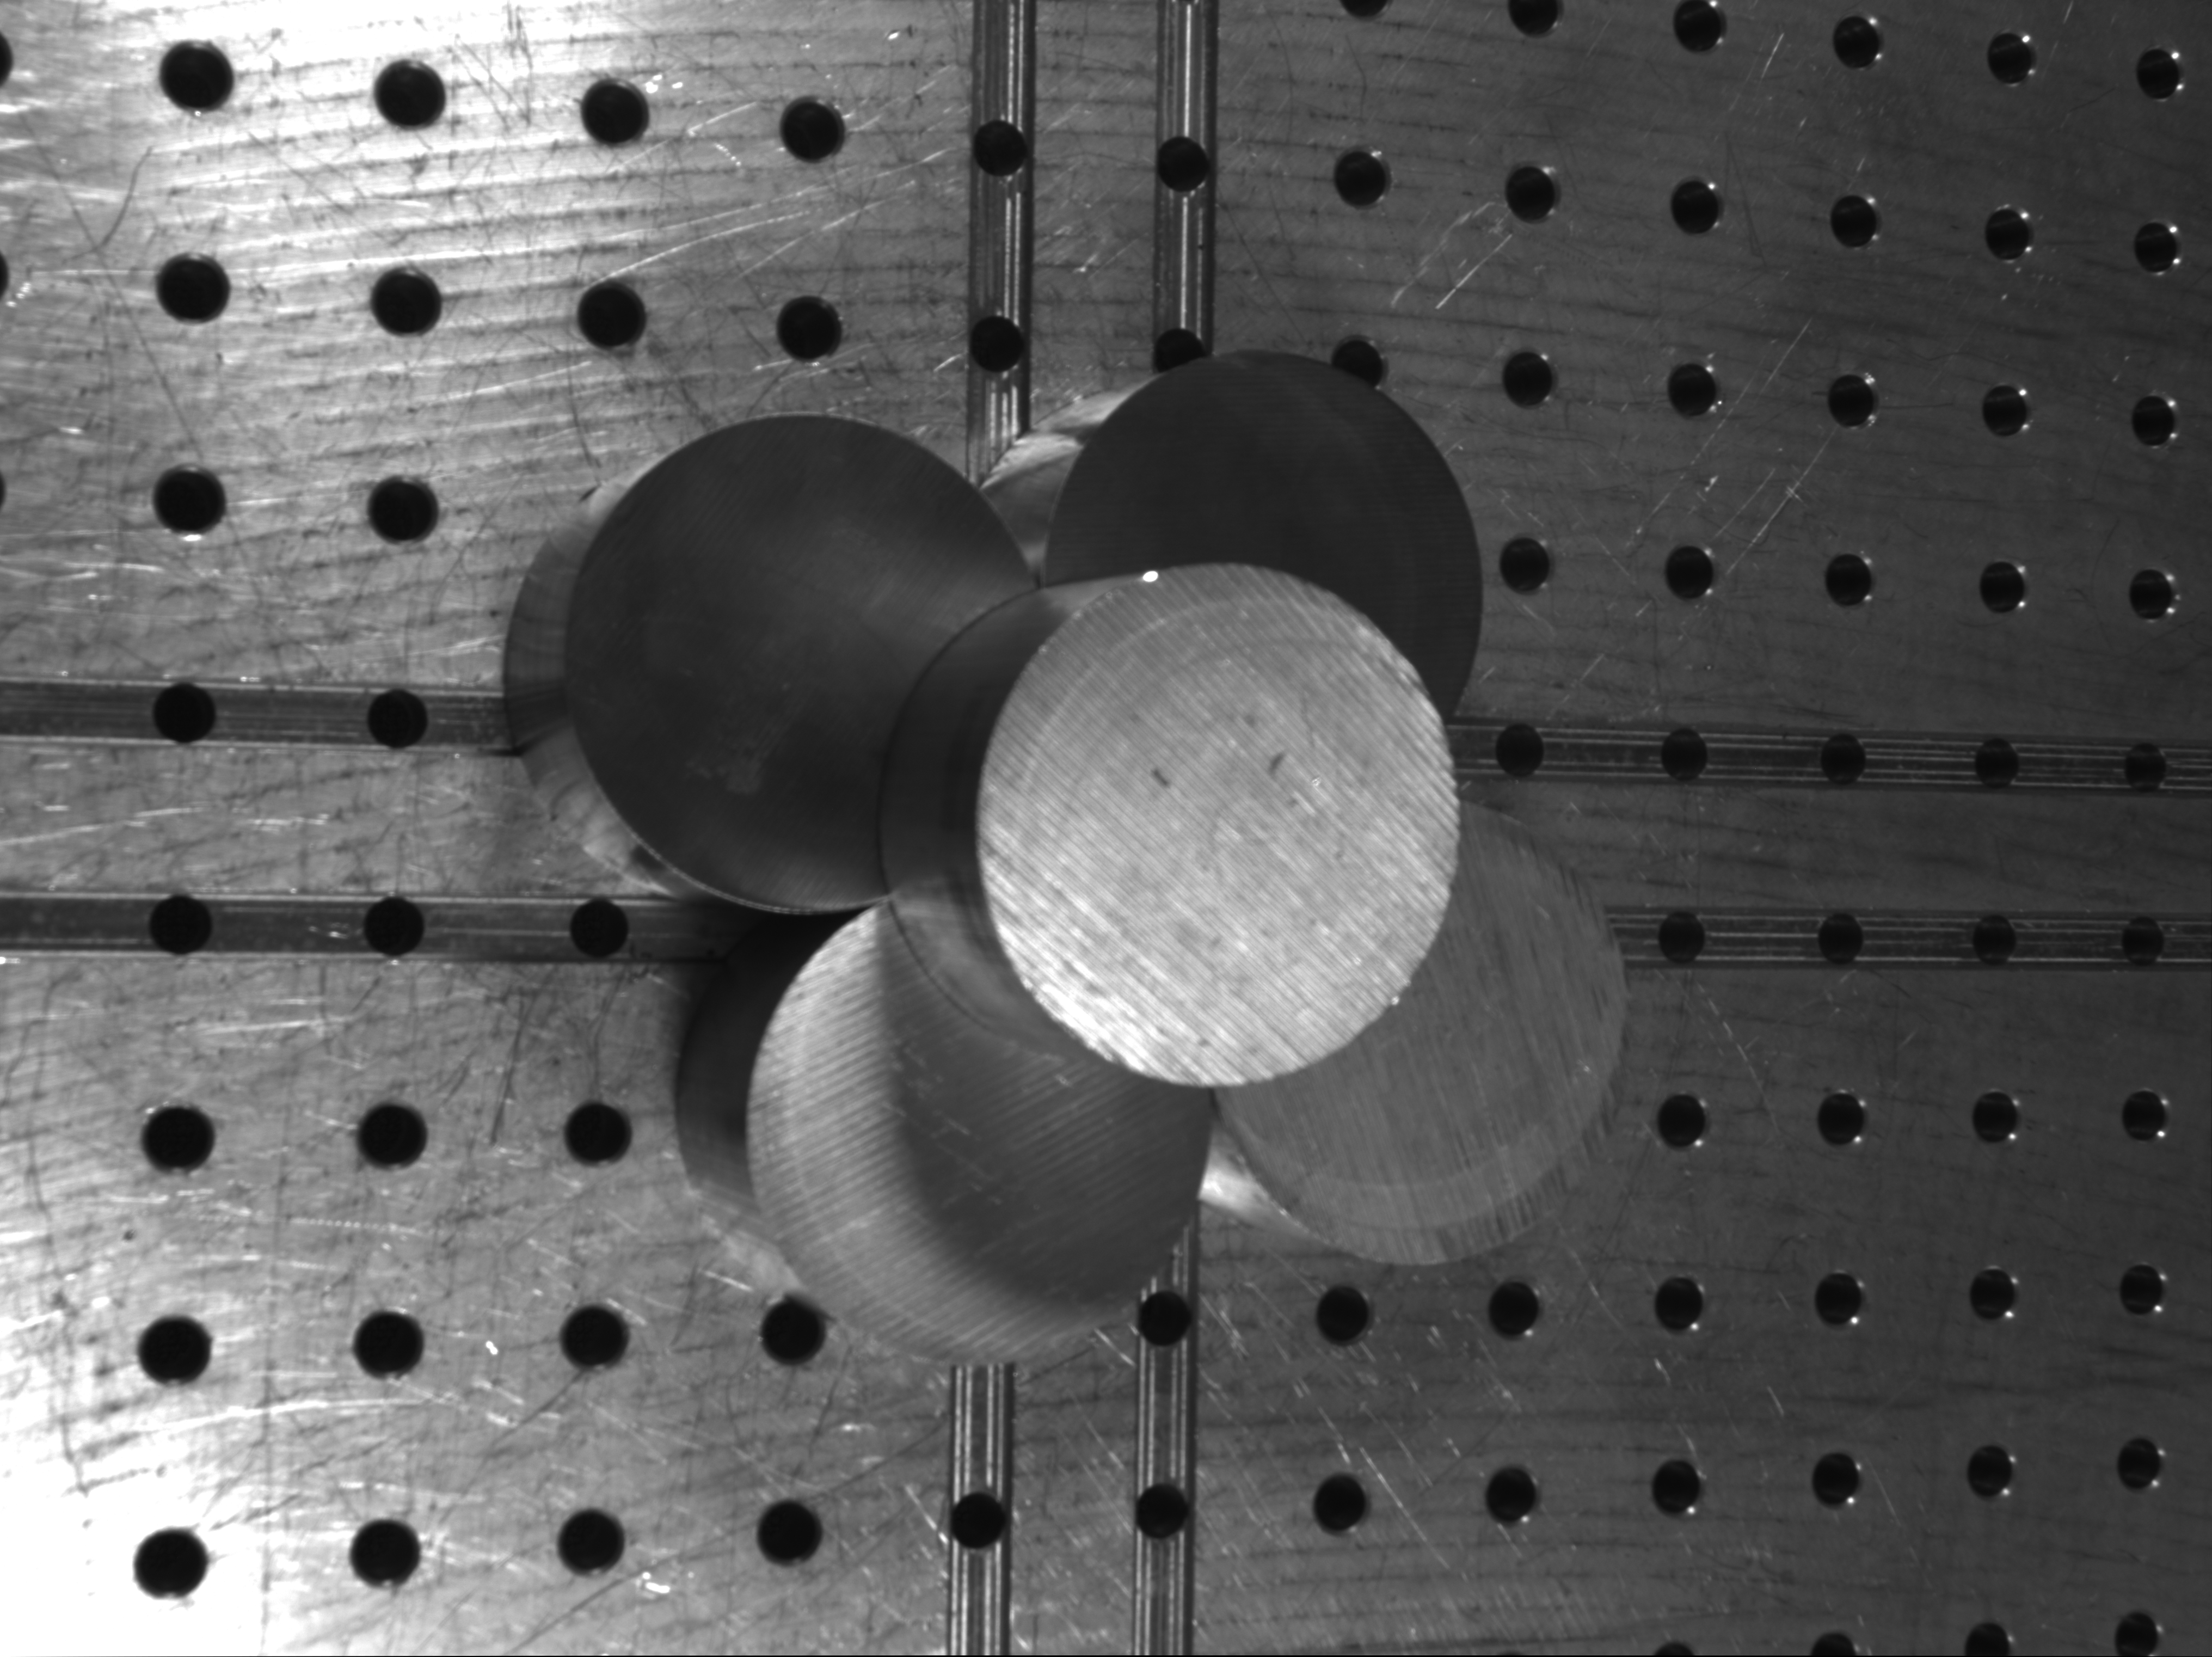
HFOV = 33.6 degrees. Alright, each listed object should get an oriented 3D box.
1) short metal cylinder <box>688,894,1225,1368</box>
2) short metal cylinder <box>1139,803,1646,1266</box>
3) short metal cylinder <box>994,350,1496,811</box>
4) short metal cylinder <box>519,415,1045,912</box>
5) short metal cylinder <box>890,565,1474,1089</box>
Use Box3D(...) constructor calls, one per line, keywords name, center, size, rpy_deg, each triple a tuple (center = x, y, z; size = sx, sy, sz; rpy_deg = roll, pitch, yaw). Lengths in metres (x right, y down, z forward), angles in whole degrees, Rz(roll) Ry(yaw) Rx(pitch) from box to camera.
Box3D(name="short metal cylinder", center=(-0.026, 0.048, 0.622), size=(0.080, 0.050, 0.080), rpy_deg=(0, 90, -20))
Box3D(name="short metal cylinder", center=(0.048, 0.035, 0.649), size=(0.080, 0.050, 0.080), rpy_deg=(0, 90, -20))
Box3D(name="short metal cylinder", center=(0.021, -0.040, 0.639), size=(0.080, 0.050, 0.080), rpy_deg=(0, 90, -20))
Box3D(name="short metal cylinder", center=(-0.054, -0.026, 0.612), size=(0.080, 0.050, 0.080), rpy_deg=(0, 90, -20))
Box3D(name="short metal cylinder", center=(0.011, -0.001, 0.582), size=(0.080, 0.050, 0.080), rpy_deg=(-1, 92, -21))
